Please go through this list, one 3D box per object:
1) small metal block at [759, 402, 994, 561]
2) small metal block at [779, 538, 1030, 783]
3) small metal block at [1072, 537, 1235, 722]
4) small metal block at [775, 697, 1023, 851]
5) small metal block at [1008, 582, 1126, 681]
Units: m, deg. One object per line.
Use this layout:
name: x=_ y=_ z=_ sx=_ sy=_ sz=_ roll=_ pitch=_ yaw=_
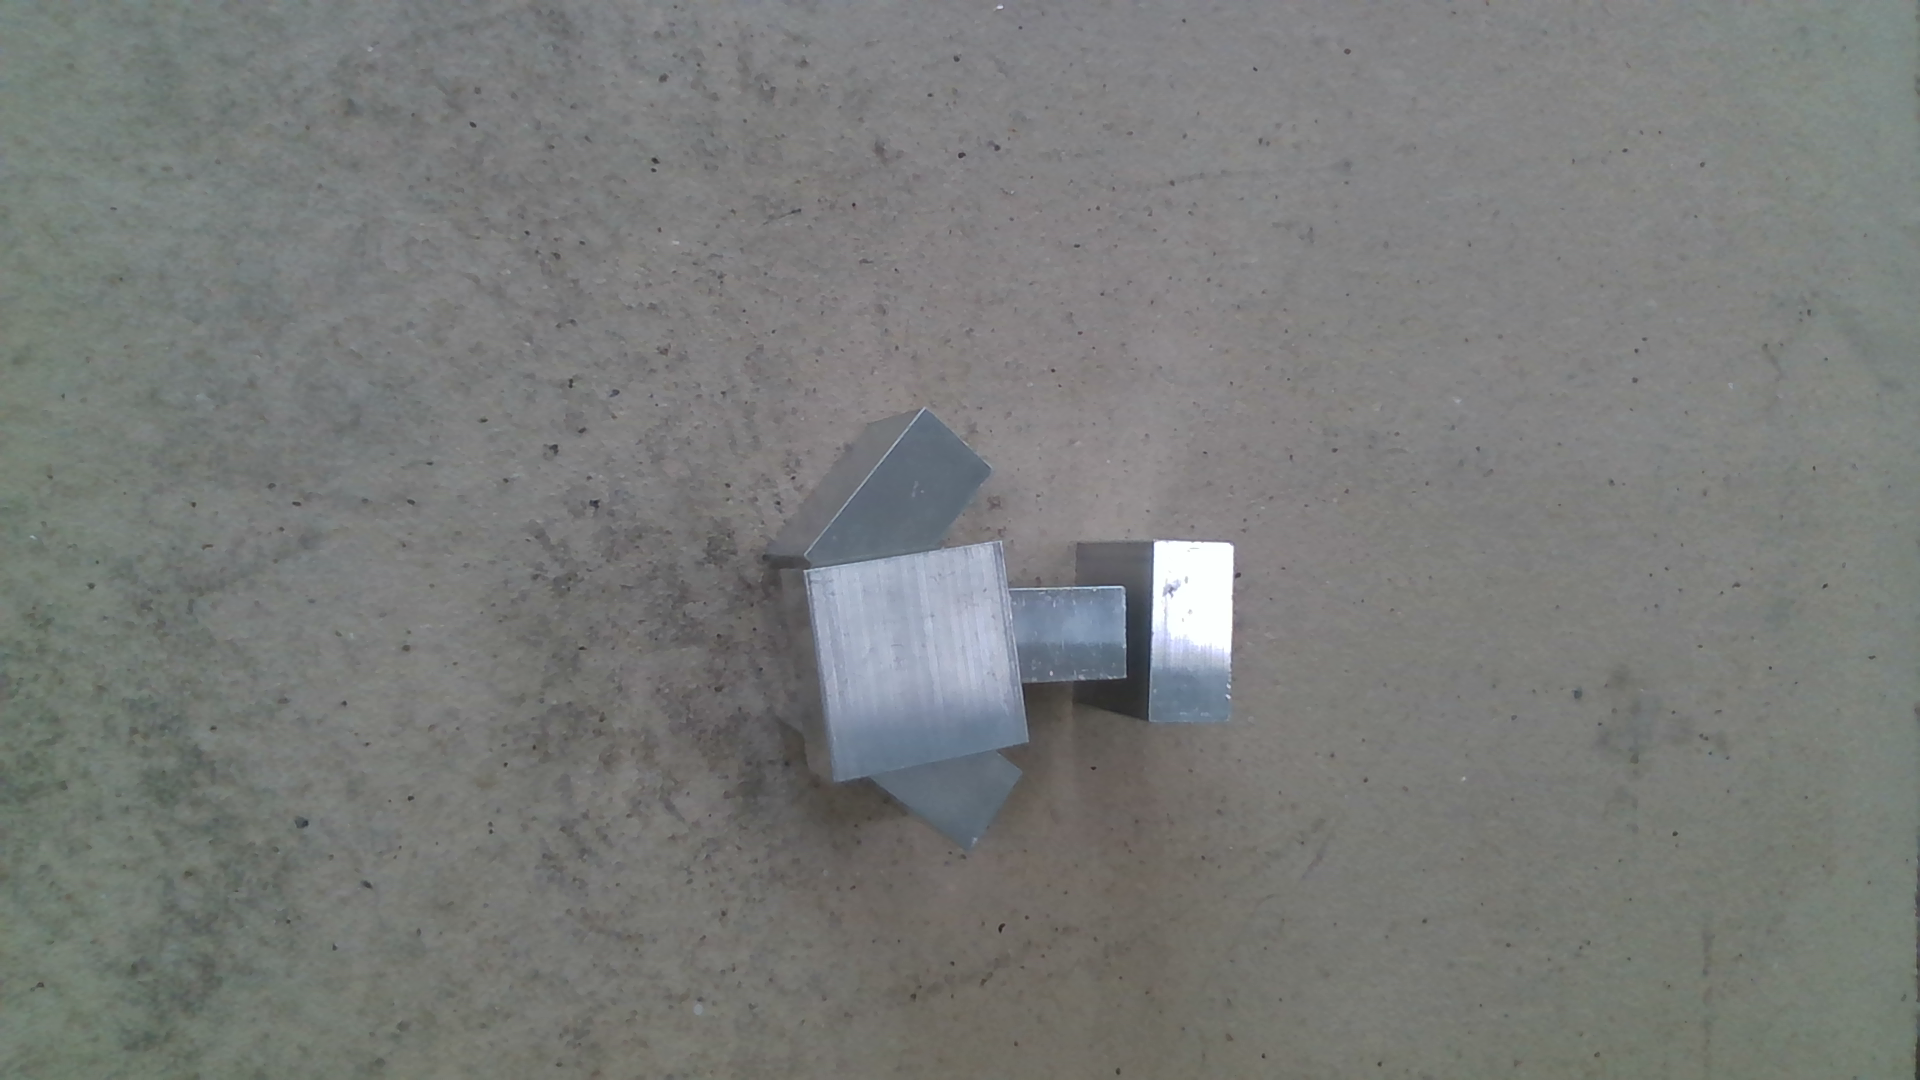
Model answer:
small metal block: x=-0.024 y=-0.008 z=0.371 sx=0.025 sy=0.050 sz=0.050 roll=42 pitch=78 yaw=-16
small metal block: x=-0.014 y=0.028 z=0.337 sx=0.050 sy=0.025 sz=0.050 roll=-9 pitch=93 yaw=-20
small metal block: x=0.055 y=0.025 z=0.401 sx=0.025 sy=0.050 sz=0.050 roll=2 pitch=90 yaw=-20
small metal block: x=-0.018 y=0.055 z=0.375 sx=0.050 sy=0.050 sz=0.025 roll=39 pitch=77 yaw=-16
small metal block: x=0.012 y=0.024 z=0.386 sx=0.050 sy=0.050 sz=0.025 roll=-1 pitch=91 yaw=-21
